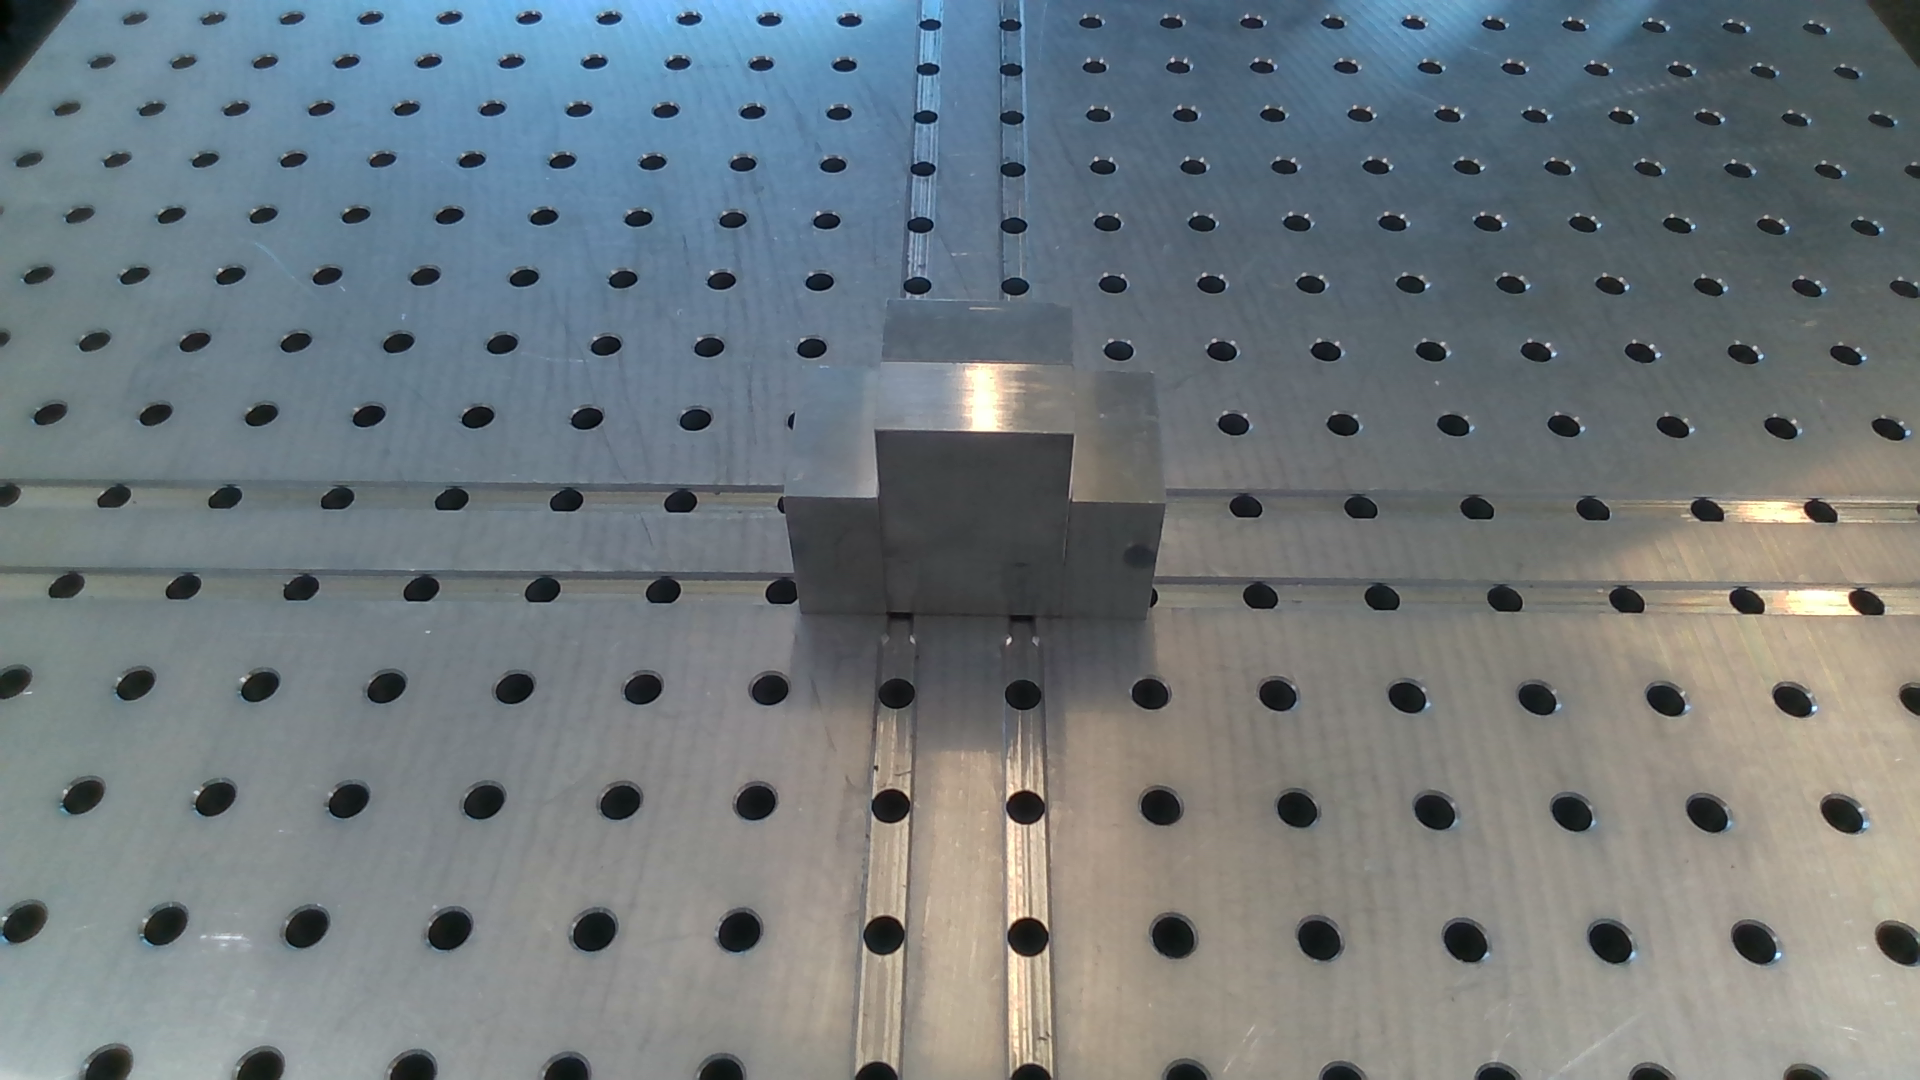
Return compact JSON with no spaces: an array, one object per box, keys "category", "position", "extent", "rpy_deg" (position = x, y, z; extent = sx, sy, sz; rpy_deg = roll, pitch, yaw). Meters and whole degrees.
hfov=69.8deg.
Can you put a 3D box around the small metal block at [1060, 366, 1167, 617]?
[{"category":"small metal block","position":[0.042,-0.014,0.391],"extent":[0.025,0.050,0.050],"rpy_deg":[1,50,1]}]

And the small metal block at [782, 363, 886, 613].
[{"category":"small metal block","position":[-0.033,-0.015,0.392],"extent":[0.025,0.050,0.050],"rpy_deg":[1,50,1]}]

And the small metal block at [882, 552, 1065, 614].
[{"category":"small metal block","position":[0.004,-0.006,0.402],"extent":[0.050,0.025,0.050],"rpy_deg":[1,49,1]}]

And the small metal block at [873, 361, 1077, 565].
[{"category":"small metal block","position":[0.004,-0.020,0.364],"extent":[0.050,0.050,0.025],"rpy_deg":[1,49,1]}]

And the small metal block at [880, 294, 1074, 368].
[{"category":"small metal block","position":[0.005,-0.040,0.381],"extent":[0.050,0.050,0.025],"rpy_deg":[1,50,1]}]
